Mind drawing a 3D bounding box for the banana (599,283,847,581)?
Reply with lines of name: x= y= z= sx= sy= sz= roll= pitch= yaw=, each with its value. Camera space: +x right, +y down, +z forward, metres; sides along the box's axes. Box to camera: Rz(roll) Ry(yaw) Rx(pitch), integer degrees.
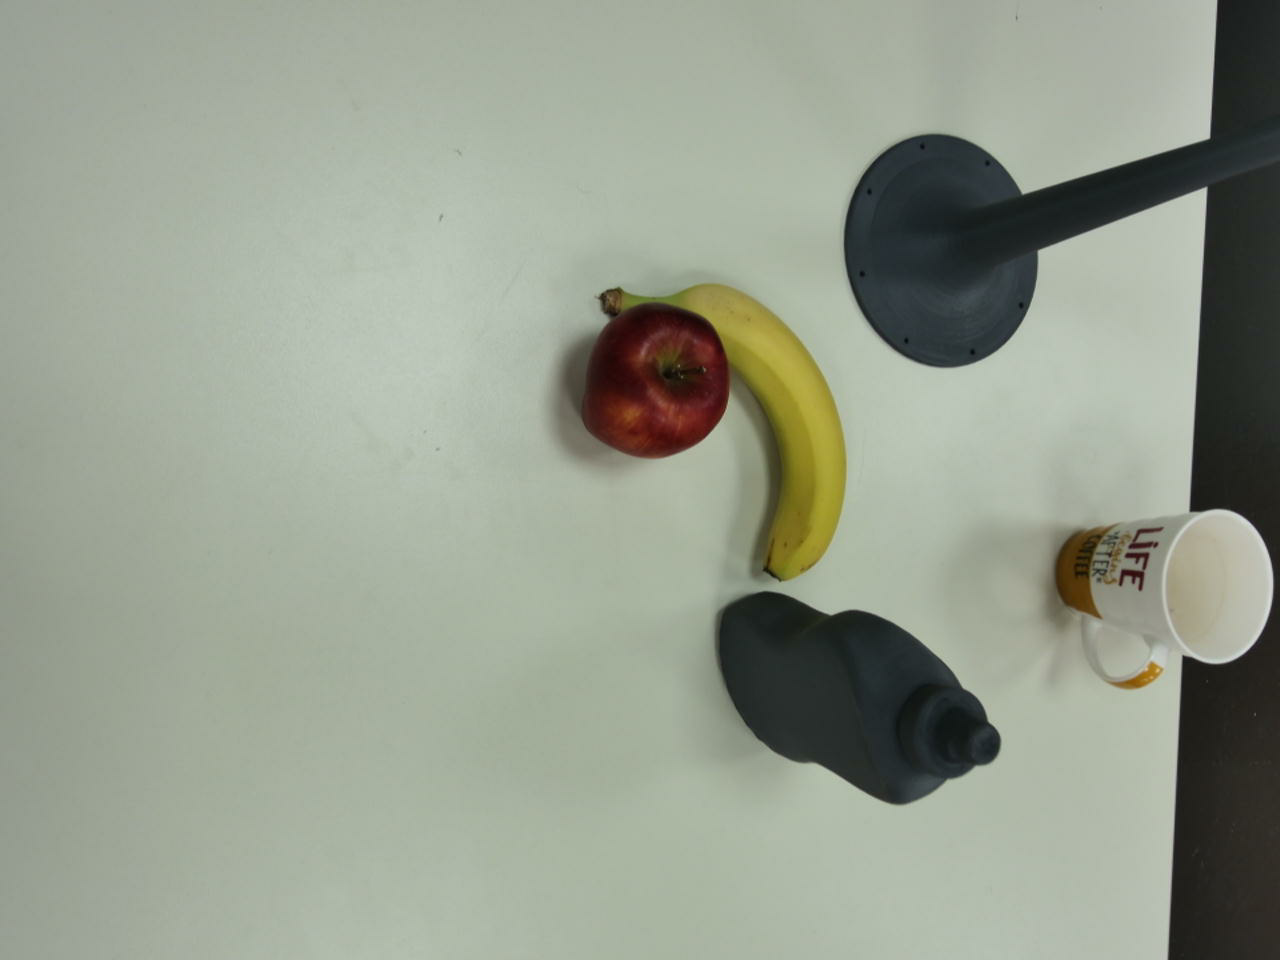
banana: x=0.066 y=-0.044 z=0.580 sx=0.094 sy=0.041 sz=0.196 roll=-33 pitch=102 yaw=-18
